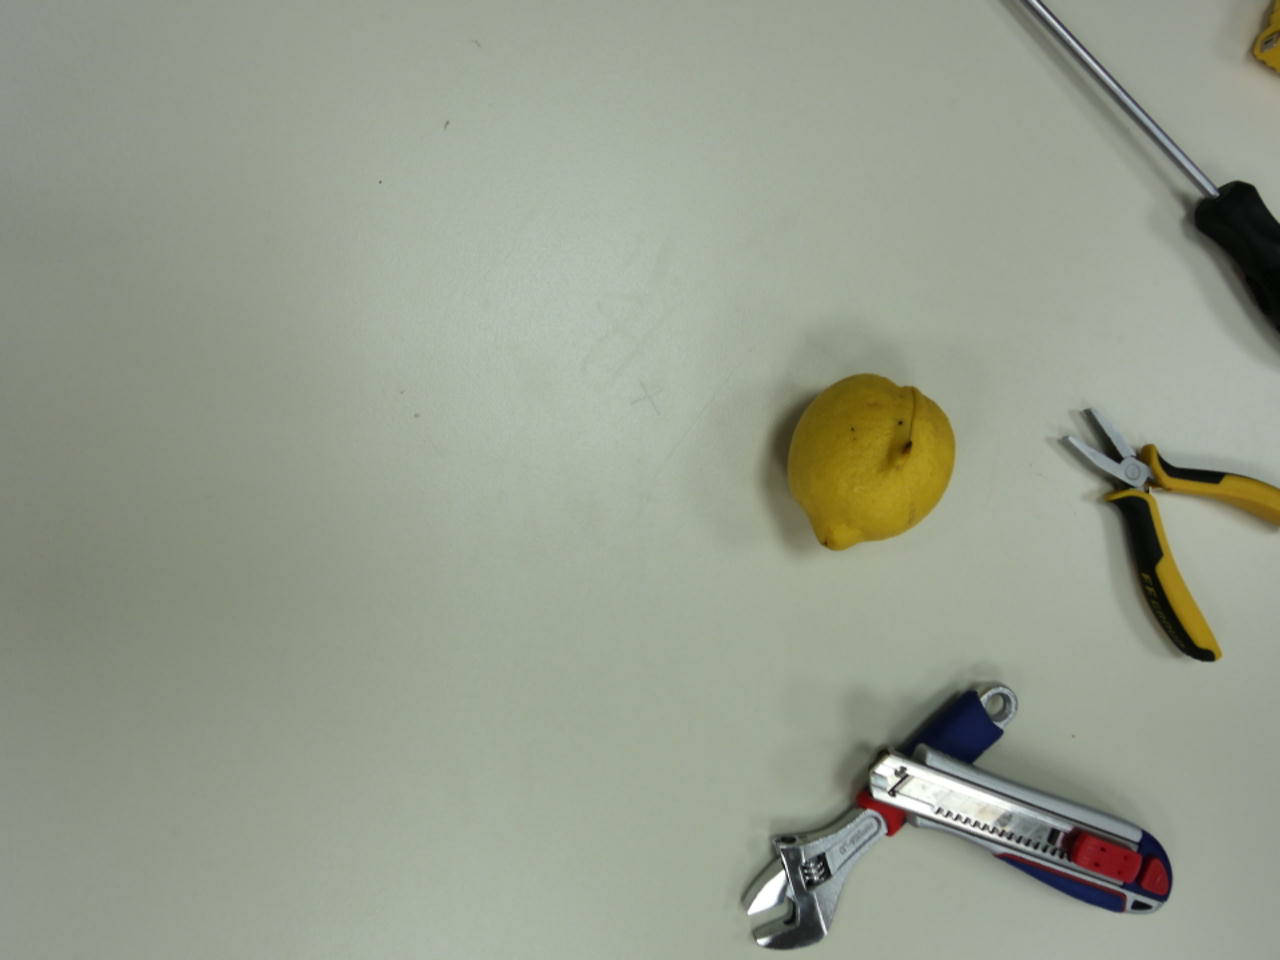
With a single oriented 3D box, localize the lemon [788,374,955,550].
[{"bbox_3d":[0.098,-0.009,0.425,0.071,0.071,0.070,-24,95,-10],"label":"lemon"}]
